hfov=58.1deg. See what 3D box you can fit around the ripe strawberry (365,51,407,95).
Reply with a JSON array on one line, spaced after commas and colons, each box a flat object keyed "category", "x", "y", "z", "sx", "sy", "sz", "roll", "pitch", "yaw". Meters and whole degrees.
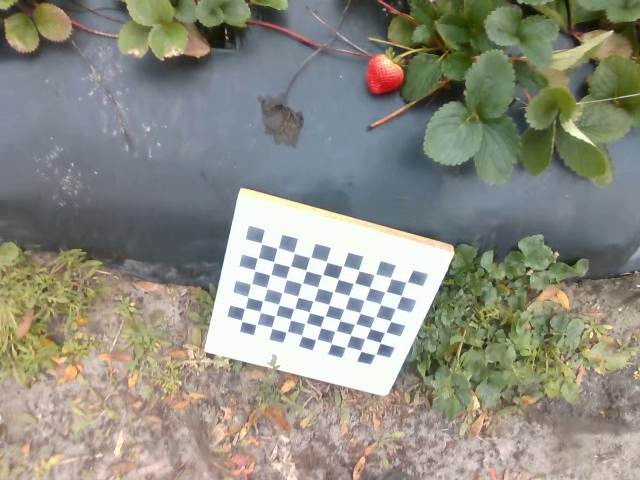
[{"category": "ripe strawberry", "x": 0.093, "y": -0.244, "z": 0.857, "sx": 0.061, "sy": 0.065, "sz": 0.050, "roll": 23, "pitch": 23, "yaw": -13}]
